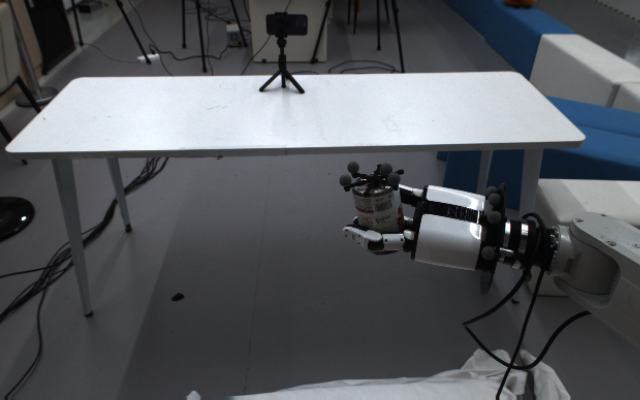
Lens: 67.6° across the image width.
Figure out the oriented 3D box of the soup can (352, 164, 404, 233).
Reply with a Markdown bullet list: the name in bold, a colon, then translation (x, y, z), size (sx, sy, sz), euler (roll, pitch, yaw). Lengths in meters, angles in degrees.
- **soup can**: translation (0.089, 0.020, 0.703), size (0.067, 0.101, 0.067), euler (-11, 27, 6)
